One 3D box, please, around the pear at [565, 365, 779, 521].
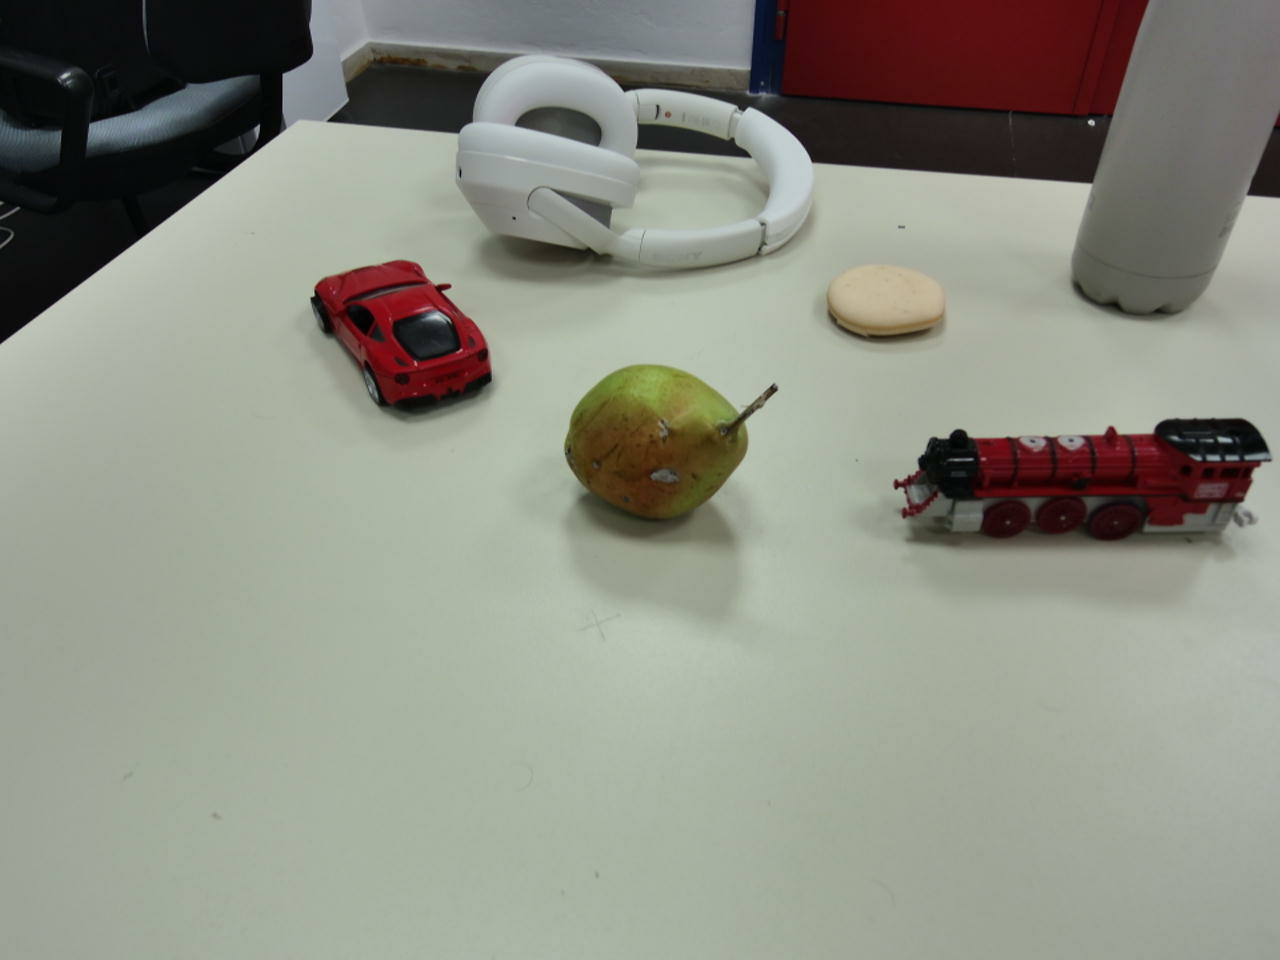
[{"bbox_3d":[0.006,-0.018,0.405,0.068,0.069,0.070,-16,41,-19],"label":"pear"}]
